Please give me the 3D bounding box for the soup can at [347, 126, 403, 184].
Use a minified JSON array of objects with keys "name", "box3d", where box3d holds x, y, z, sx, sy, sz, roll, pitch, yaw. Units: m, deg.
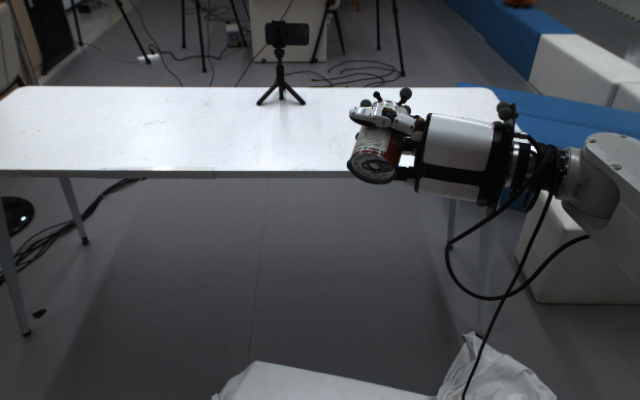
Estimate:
[{"name":"soup can","box3d":[0.084,-0.084,0.686,0.067,0.067,0.101,12,59,14]}]
